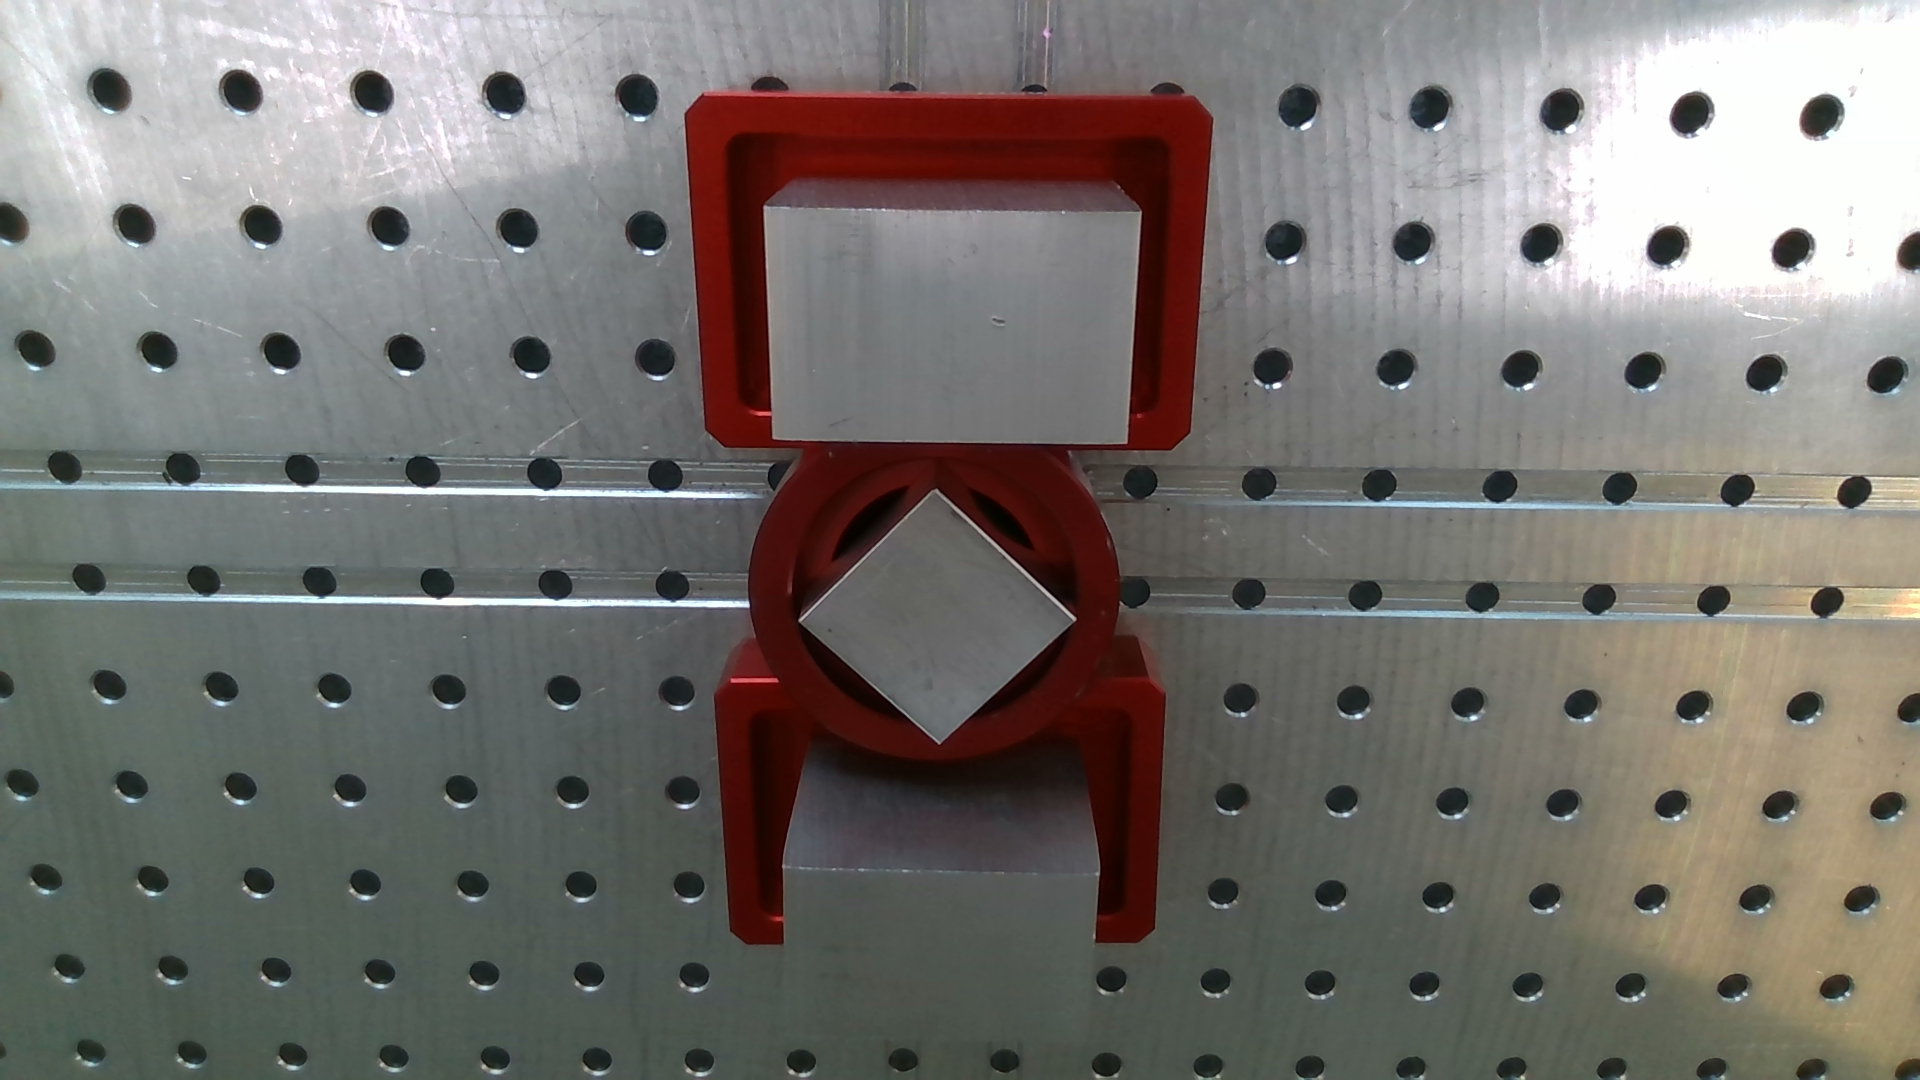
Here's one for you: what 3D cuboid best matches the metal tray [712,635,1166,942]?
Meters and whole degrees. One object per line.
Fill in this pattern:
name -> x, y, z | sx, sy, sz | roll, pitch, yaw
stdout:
metal tray -> -0.006, 0.076, 0.420 | 0.130, 0.030, 0.090 | 0, 110, 0

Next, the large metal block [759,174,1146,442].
large metal block -> -0.002, -0.059, 0.331 | 0.080, 0.080, 0.050 | 1, 110, 0

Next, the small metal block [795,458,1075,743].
small metal block -> -0.006, 0.016, 0.359 | 0.050, 0.025, 0.050 | 43, 105, -14

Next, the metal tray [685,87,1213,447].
metal tray -> -0.003, -0.072, 0.366 | 0.130, 0.030, 0.090 | 0, 110, 0

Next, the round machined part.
round machined part -> -0.007, 0.007, 0.380 | 0.098, 0.042, 0.098 | 0, 110, 0

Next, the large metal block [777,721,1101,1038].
large metal block -> -0.006, 0.091, 0.386 | 0.080, 0.080, 0.050 | 1, 110, 0
